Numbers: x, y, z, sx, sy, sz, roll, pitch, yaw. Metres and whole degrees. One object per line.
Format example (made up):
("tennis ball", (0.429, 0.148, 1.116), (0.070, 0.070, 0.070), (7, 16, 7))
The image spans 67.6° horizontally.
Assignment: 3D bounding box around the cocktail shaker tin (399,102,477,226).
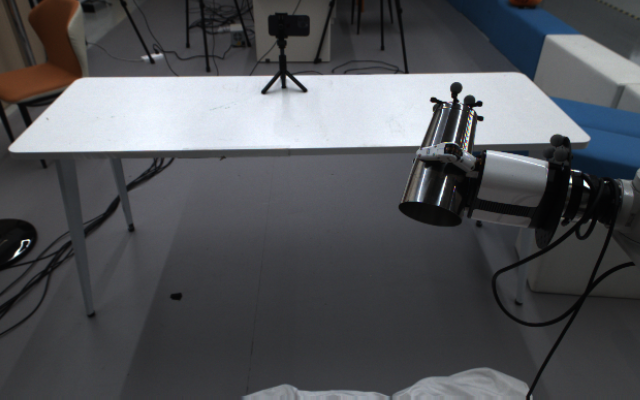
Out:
("cocktail shaker tin", (0.184, -0.056, 0.719), (0.093, 0.093, 0.170), (14, 73, 16))
